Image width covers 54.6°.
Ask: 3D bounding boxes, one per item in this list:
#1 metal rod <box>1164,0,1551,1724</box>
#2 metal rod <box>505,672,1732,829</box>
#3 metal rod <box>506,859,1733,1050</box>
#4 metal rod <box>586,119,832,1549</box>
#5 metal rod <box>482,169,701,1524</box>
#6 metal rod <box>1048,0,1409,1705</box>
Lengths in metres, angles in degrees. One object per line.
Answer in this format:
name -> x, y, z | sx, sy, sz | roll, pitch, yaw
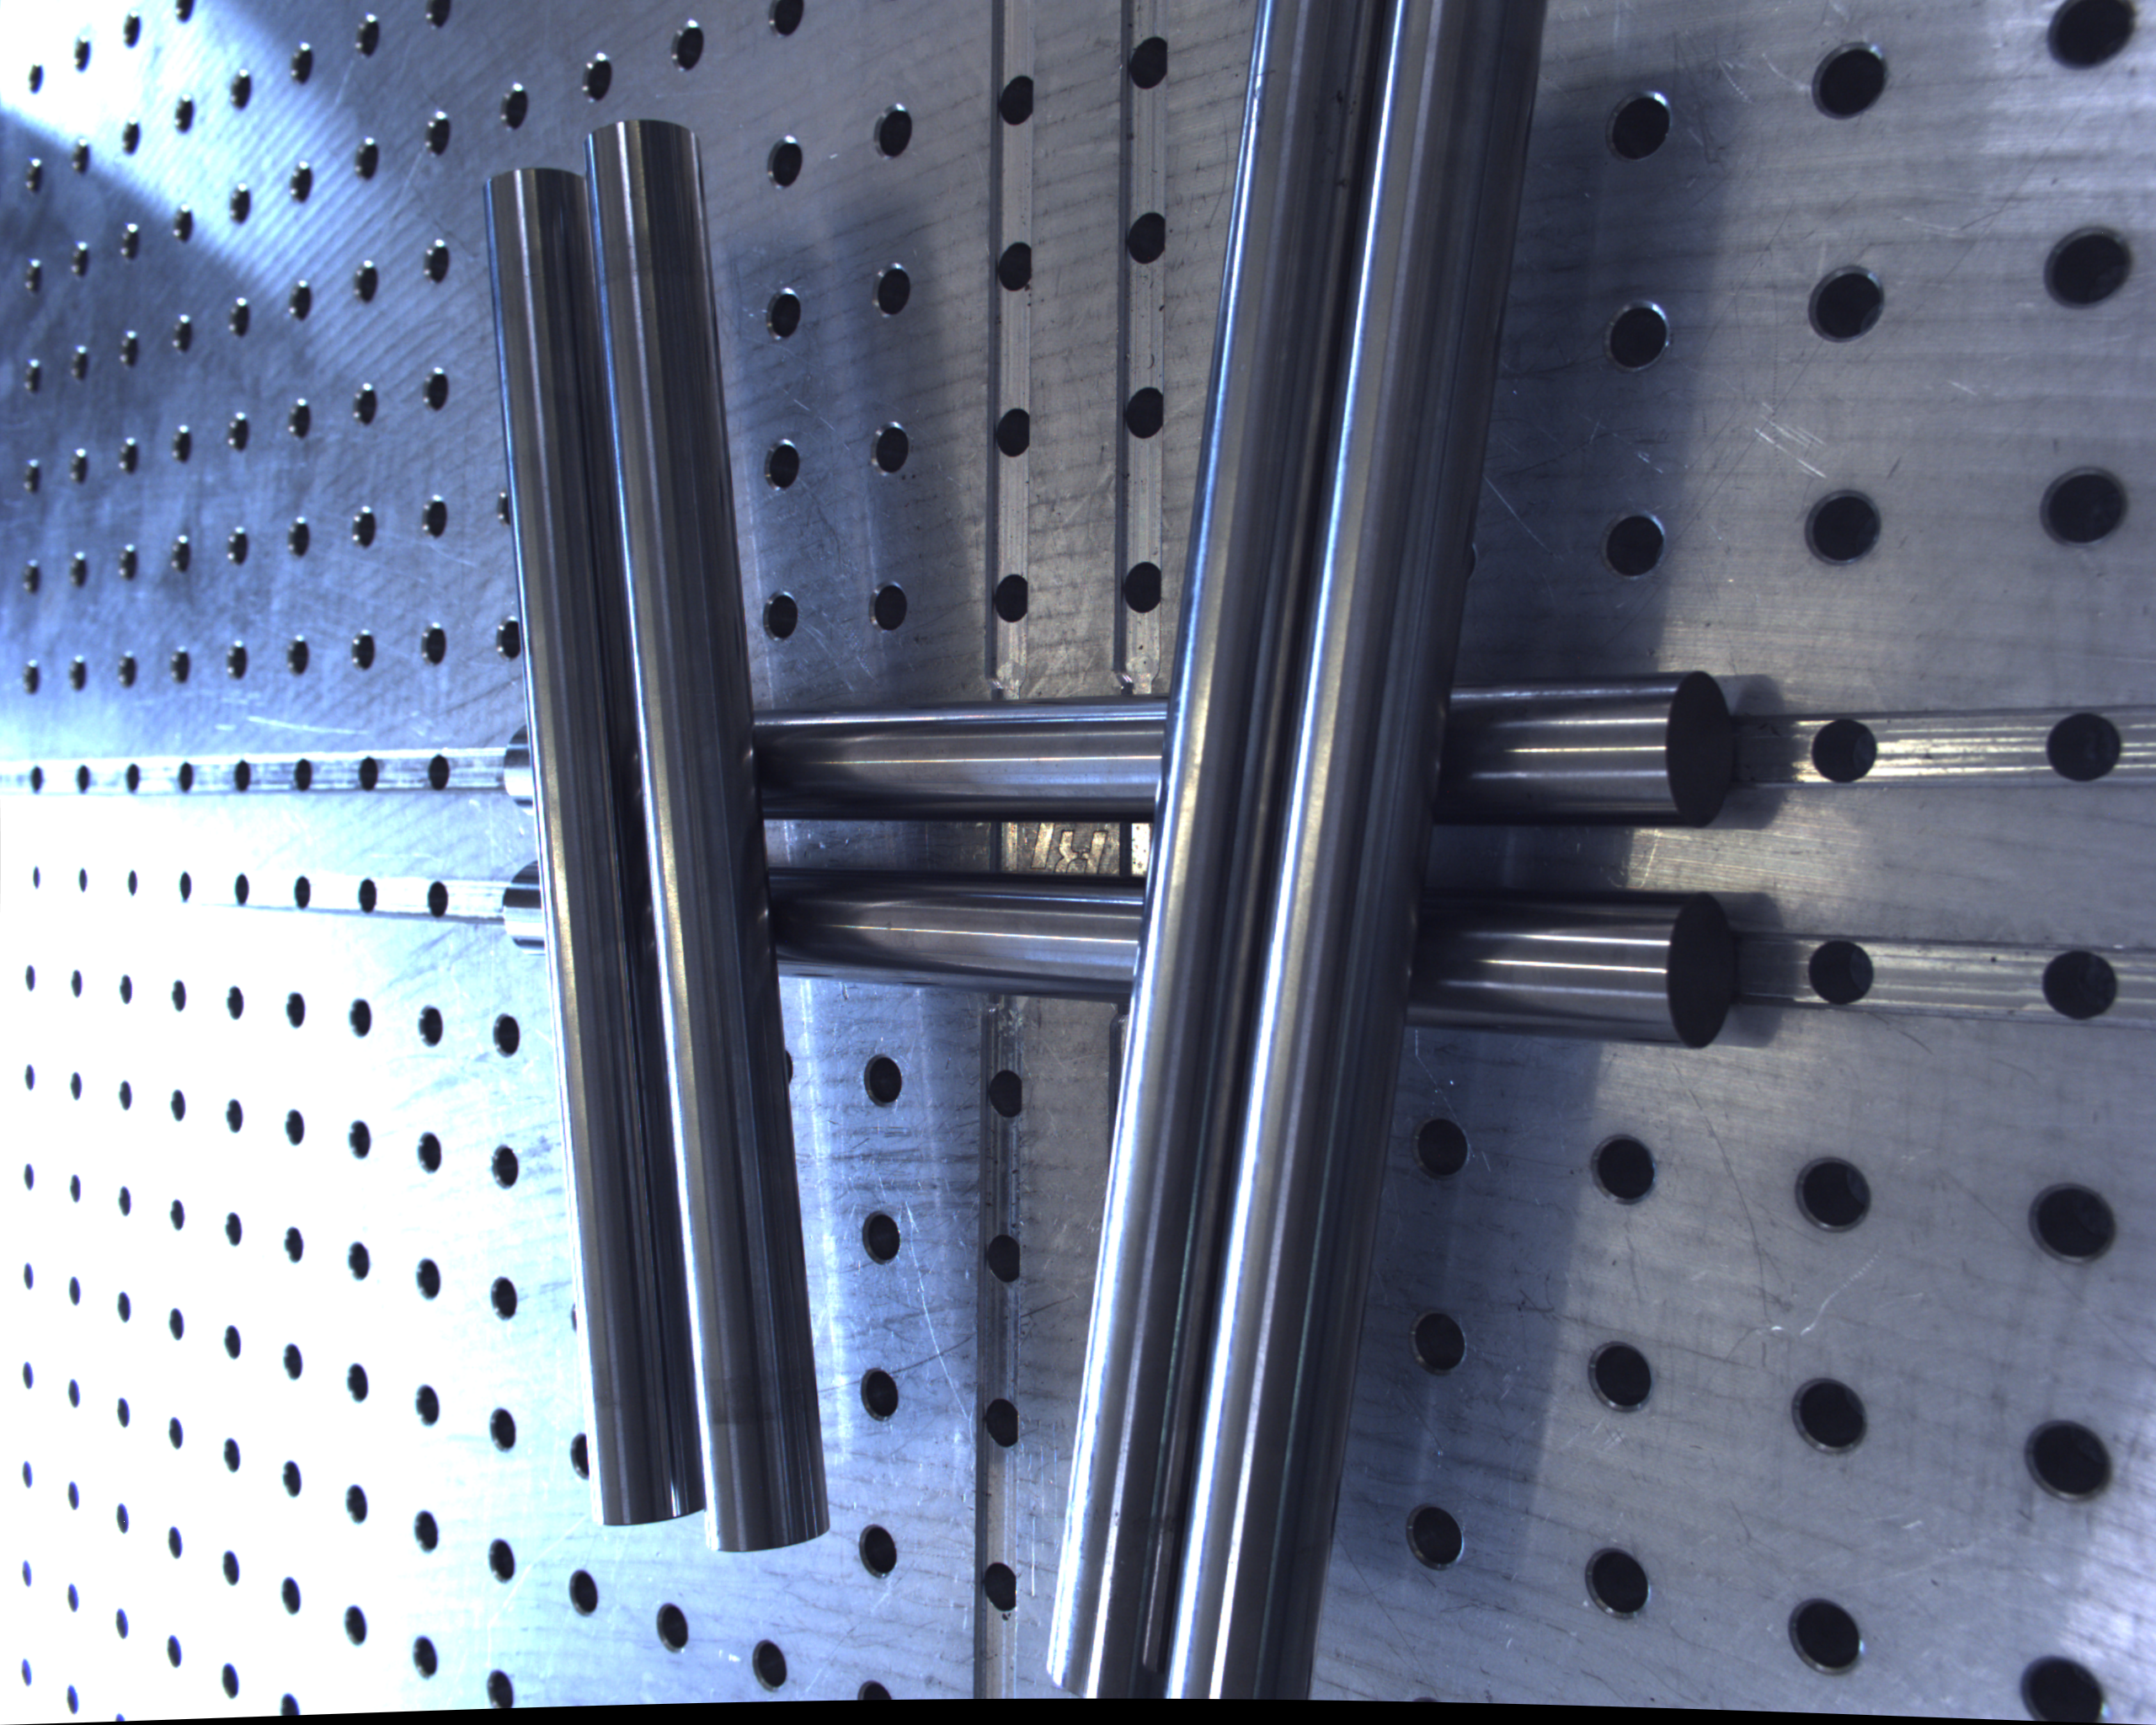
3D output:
metal rod -> 0.045, -0.004, 0.341 | 0.025, 0.025, 0.298 | 12, 98, 39
metal rod -> -0.017, -0.021, 0.425 | 0.300, 0.025, 0.025 | 1, 91, 40
metal rod -> -0.017, 0.014, 0.425 | 0.300, 0.025, 0.025 | 1, 91, 40
metal rod -> -0.079, -0.009, 0.444 | 0.025, 0.025, 0.299 | -10, 84, 39
metal rod -> -0.108, -0.007, 0.468 | 0.025, 0.025, 0.299 | -10, 83, 39
metal rod -> 0.025, -0.003, 0.358 | 0.025, 0.025, 0.298 | 12, 98, 39
